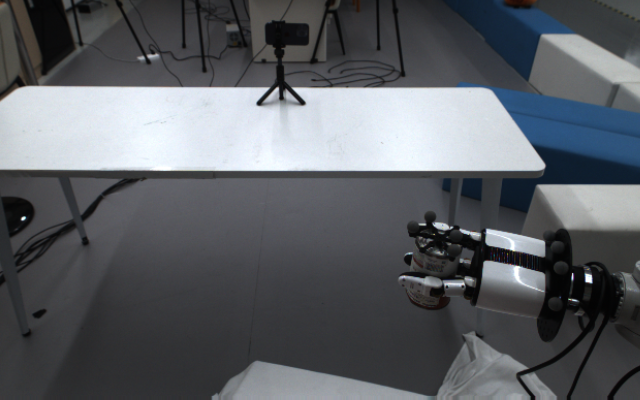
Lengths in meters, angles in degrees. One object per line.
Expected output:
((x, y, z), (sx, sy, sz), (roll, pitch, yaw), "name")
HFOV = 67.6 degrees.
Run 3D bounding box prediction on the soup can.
((0.168, 0.101, 0.711), (0.067, 0.101, 0.067), (2, 32, -1), "soup can")
